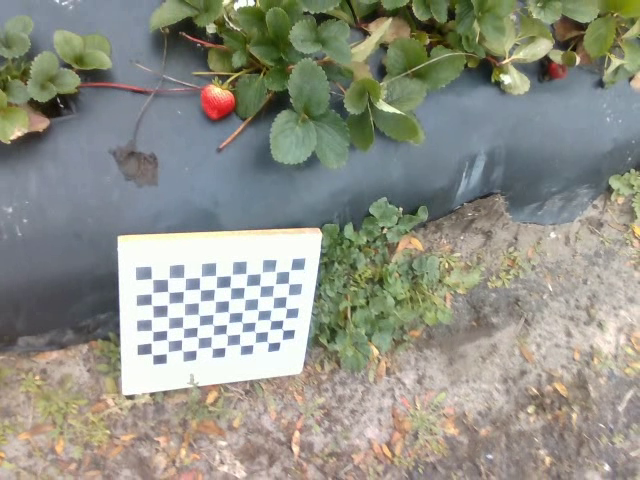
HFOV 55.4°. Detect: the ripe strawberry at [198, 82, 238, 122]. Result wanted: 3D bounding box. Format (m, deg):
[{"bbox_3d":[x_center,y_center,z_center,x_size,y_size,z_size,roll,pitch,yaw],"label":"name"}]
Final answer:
[{"bbox_3d":[-0.173,-0.227,0.997,0.061,0.065,0.050,6,21,-27],"label":"ripe strawberry"}]
